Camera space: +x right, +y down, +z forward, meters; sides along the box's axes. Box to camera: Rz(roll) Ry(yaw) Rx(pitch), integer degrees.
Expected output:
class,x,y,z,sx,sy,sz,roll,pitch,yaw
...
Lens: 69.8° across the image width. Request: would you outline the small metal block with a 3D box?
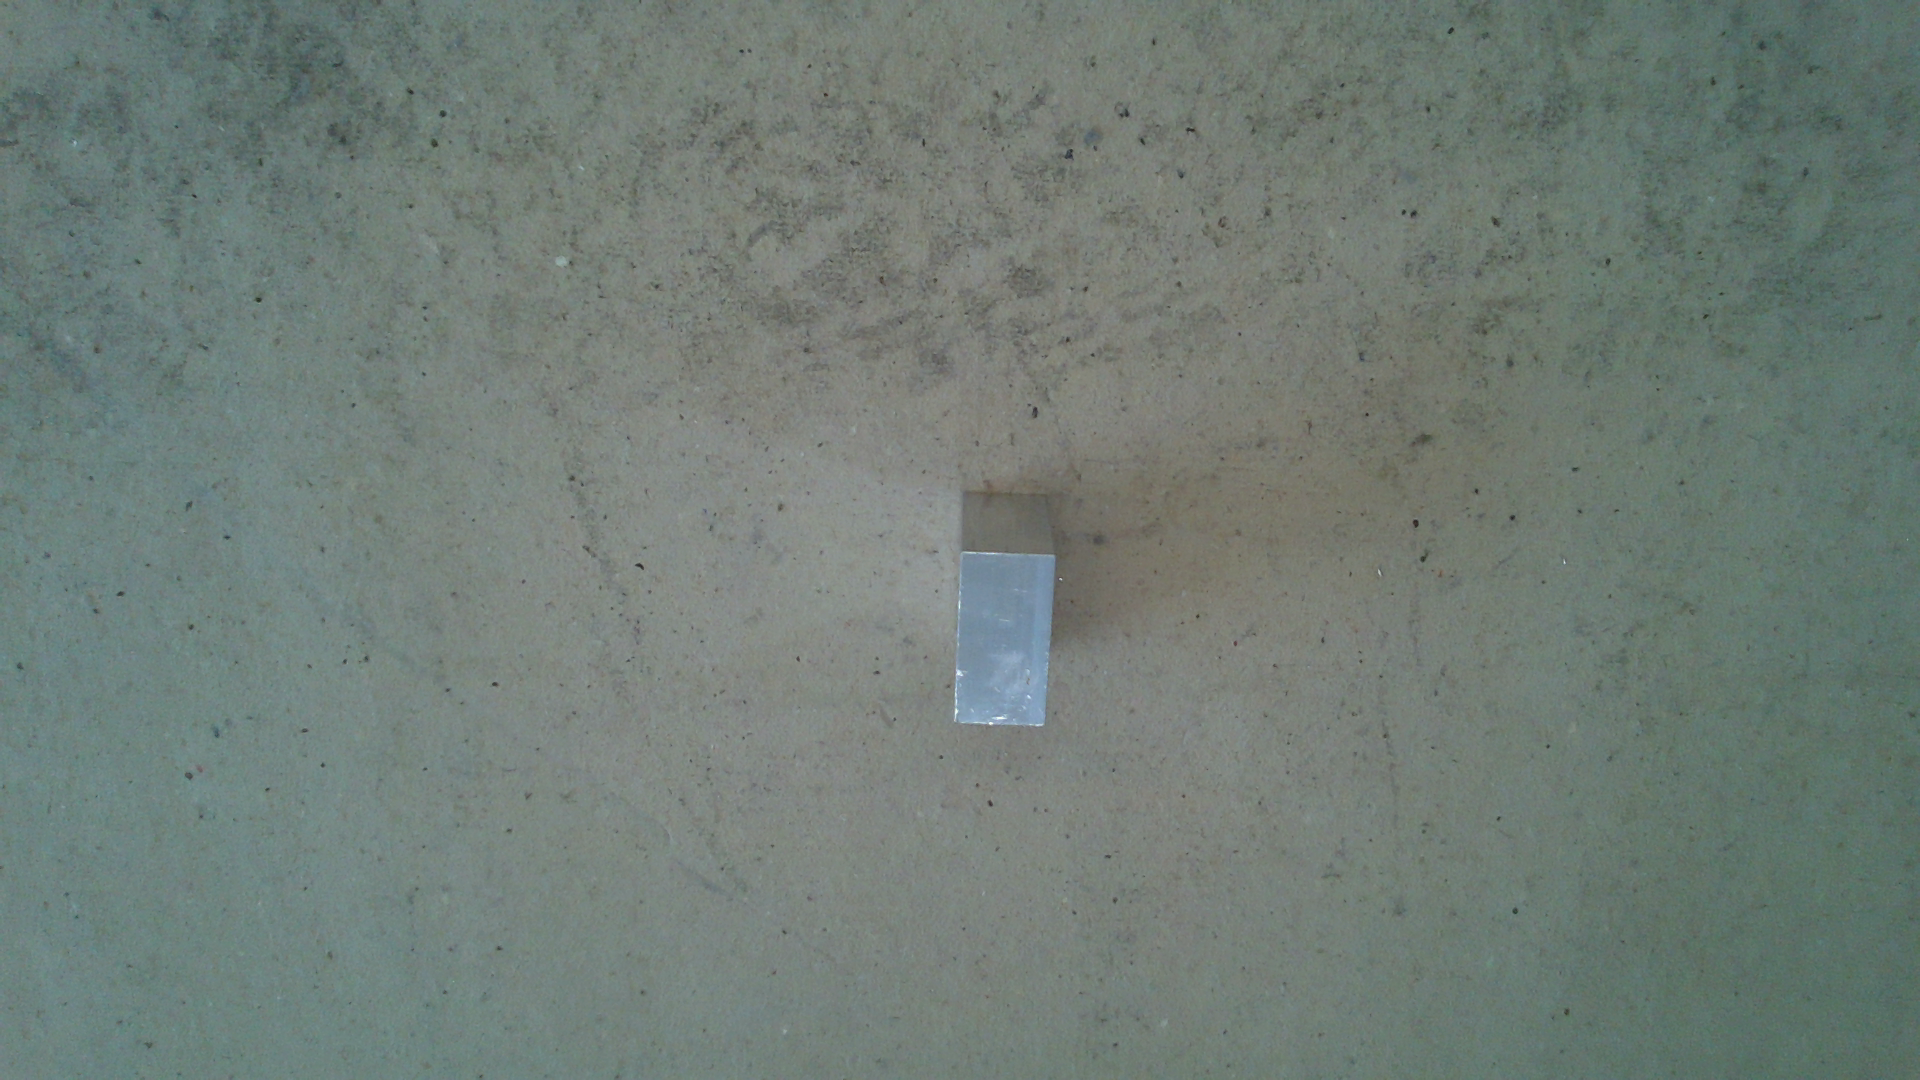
class,x,y,z,sx,sy,sz,roll,pitch,yaw
small metal block,0.011,0.018,0.388,0.025,0.050,0.050,2,110,-1
